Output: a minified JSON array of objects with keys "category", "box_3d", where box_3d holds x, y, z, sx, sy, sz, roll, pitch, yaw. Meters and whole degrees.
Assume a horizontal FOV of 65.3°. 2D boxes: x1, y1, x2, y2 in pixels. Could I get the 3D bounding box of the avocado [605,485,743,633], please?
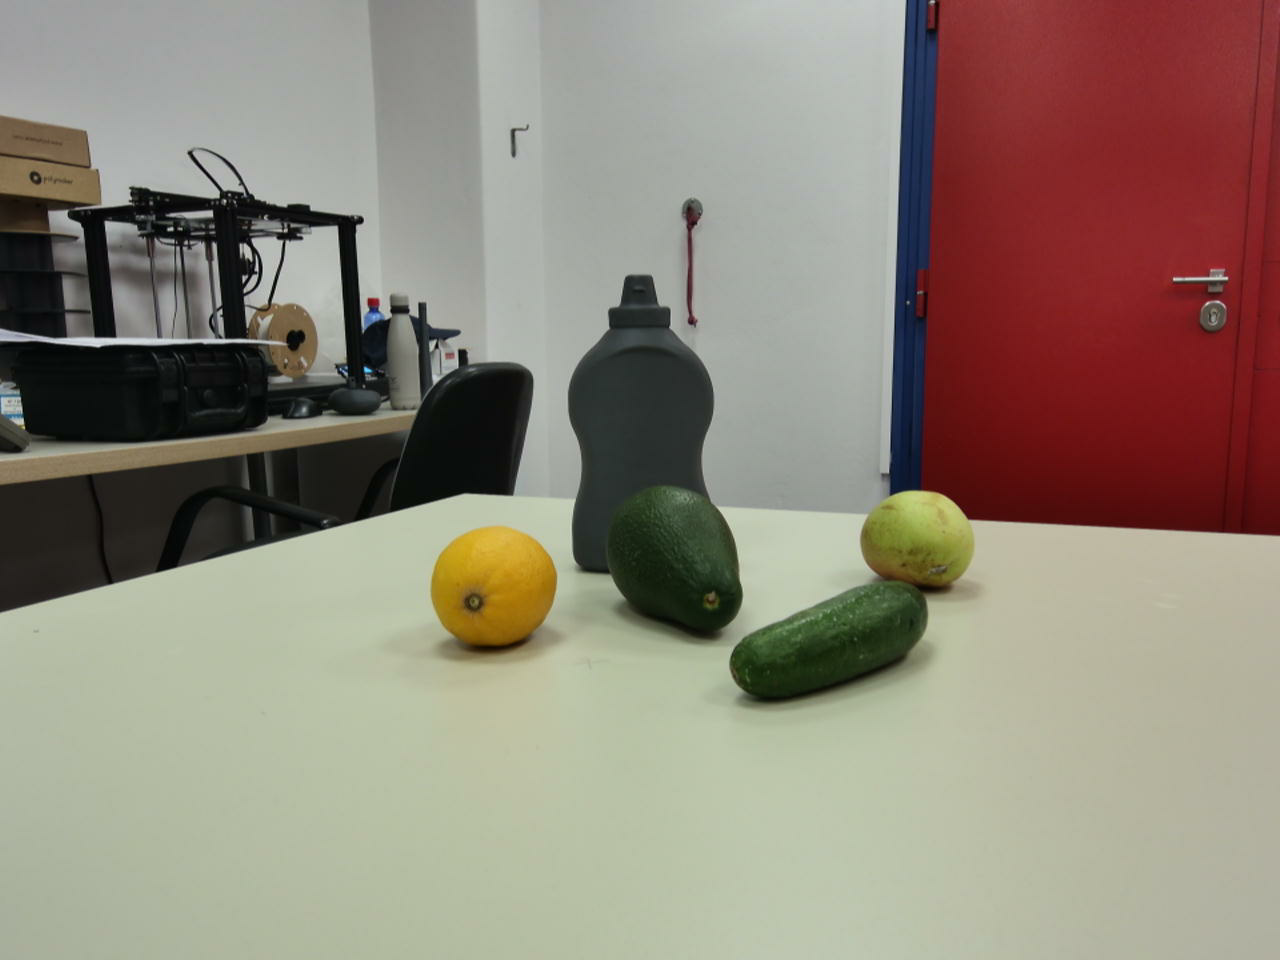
[{"category":"avocado","box_3d":[0.017,0.040,0.540,0.072,0.071,0.109,1,6,1]}]
